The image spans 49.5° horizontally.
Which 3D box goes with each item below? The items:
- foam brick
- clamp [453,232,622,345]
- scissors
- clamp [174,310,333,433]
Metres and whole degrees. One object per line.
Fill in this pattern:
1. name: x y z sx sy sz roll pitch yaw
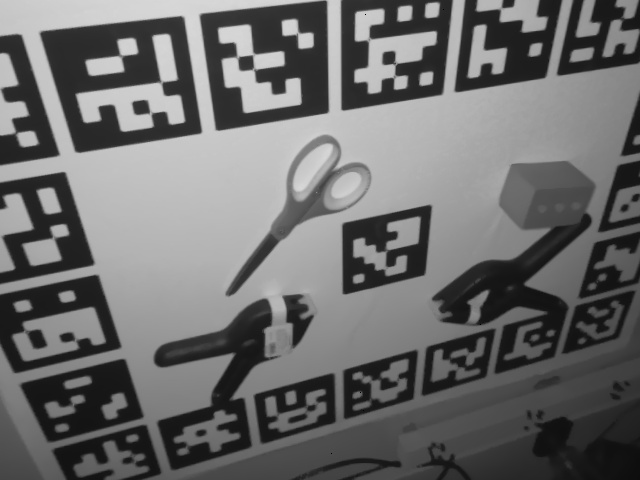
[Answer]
1. foam brick: 0.271 -0.034 0.755 0.079 0.051 0.052 -7 123 -22
2. clamp: 0.258 0.078 0.832 0.204 0.036 0.164 -14 129 -11
3. scissors: -0.003 -0.001 0.685 0.088 0.016 0.201 30 110 -26
4. clamp: -0.057 0.131 0.750 0.165 0.036 0.122 -34 121 2
